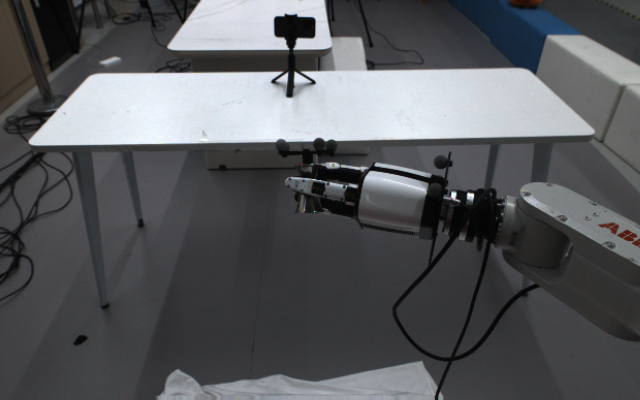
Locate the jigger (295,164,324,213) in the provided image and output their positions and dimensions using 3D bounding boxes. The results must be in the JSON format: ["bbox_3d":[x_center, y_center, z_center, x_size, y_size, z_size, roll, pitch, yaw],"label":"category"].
[{"bbox_3d":[-0.017,-0.017,0.689,0.043,0.071,0.043,-2,3,0],"label":"jigger"}]
